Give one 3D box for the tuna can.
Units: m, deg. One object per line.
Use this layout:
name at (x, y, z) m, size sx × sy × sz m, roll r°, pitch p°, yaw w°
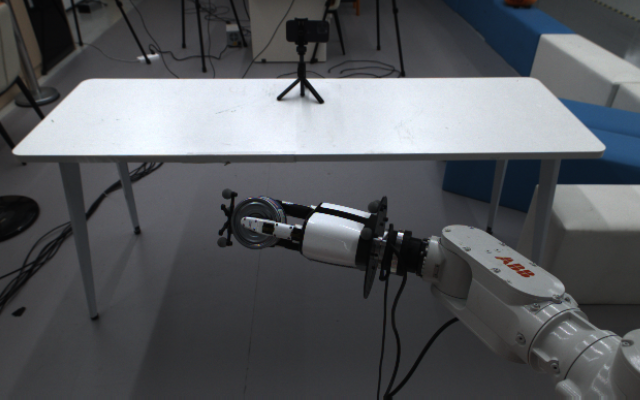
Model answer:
tuna can at (-0.098, 0.036, 0.777) m, size 0.085 × 0.085 × 0.034 m, roll 10°, pitch 3°, yaw 12°
